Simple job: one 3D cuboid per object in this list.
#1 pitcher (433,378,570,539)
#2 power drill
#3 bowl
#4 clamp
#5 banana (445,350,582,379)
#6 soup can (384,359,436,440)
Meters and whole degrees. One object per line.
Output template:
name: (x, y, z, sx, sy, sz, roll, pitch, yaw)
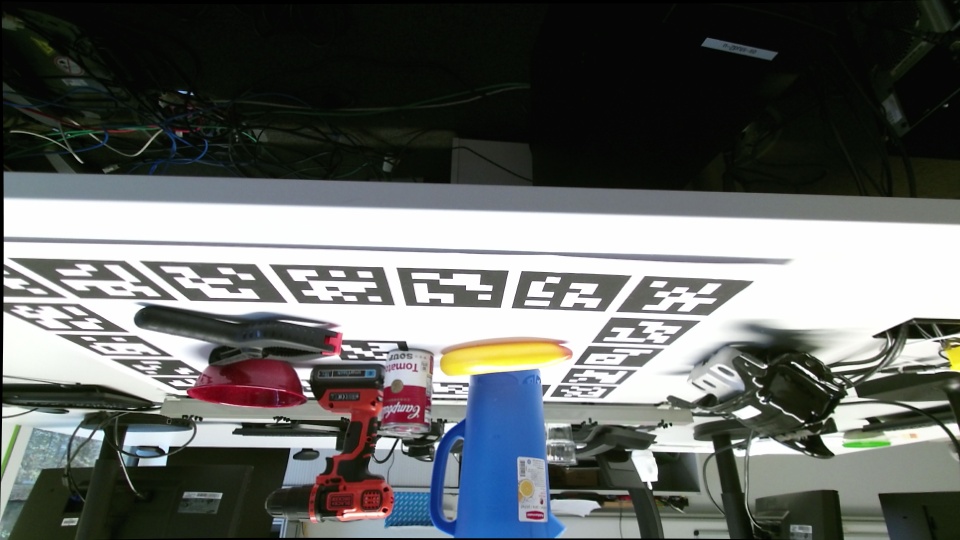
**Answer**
pitcher: (0.024, 0.271, 0.757, 0.189, 0.241, 0.133, -10, 154, 19)
power drill: (-0.216, 0.275, 0.782, 0.185, 0.186, 0.057, -1, 152, 2)
bowl: (-0.323, 0.171, 0.765, 0.162, 0.055, 0.162, 0, 151, 0)
clamp: (-0.256, 0.097, 0.628, 0.203, 0.036, 0.165, 0, 148, 0)
banana: (0.033, 0.128, 0.706, 0.198, 0.038, 0.074, -10, 159, 21)
soup can: (-0.094, 0.177, 0.730, 0.068, 0.101, 0.068, 0, 161, 0)
